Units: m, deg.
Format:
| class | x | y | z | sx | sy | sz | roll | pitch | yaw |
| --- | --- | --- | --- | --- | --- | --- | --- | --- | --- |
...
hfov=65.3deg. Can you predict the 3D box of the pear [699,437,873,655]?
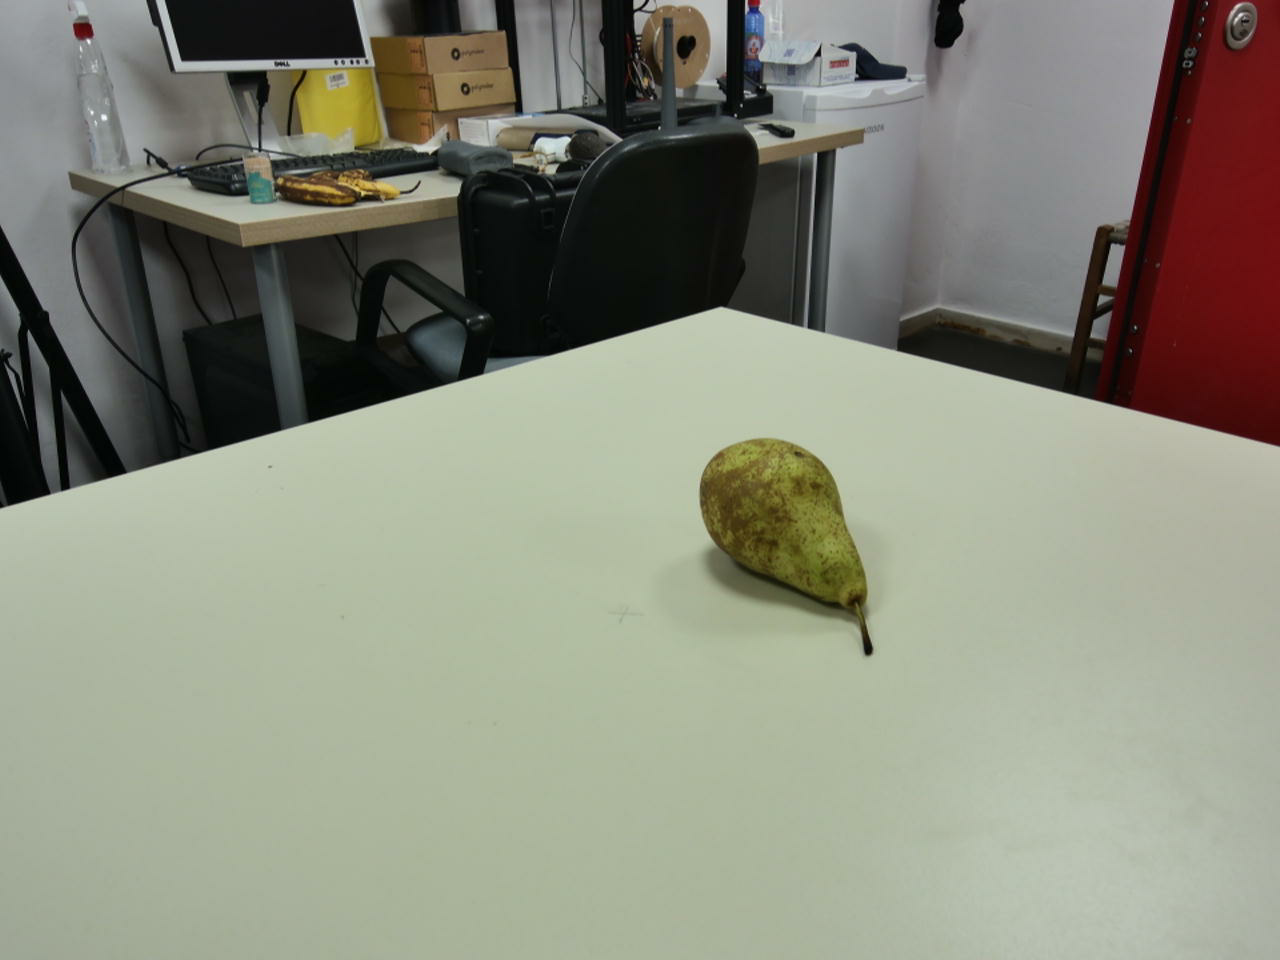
| class | x | y | z | sx | sy | sz | roll | pitch | yaw |
| --- | --- | --- | --- | --- | --- | --- | --- | --- | --- |
| pear | 0.085 | 0.022 | 0.527 | 0.128 | 0.075 | 0.071 | 21 | 30 | 36 |
